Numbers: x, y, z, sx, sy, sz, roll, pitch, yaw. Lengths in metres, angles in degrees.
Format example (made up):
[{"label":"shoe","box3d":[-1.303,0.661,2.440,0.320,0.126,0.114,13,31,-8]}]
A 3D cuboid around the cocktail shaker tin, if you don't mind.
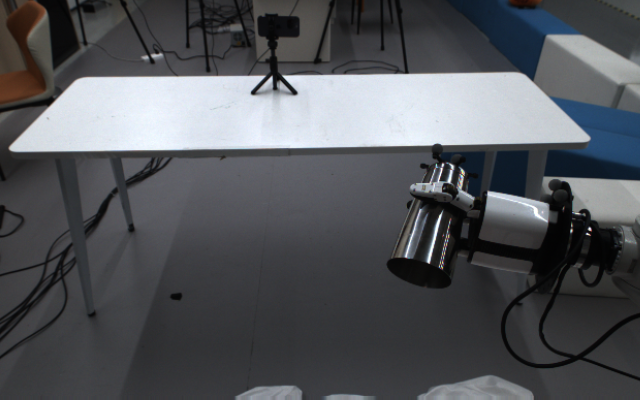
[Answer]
[{"label":"cocktail shaker tin","box3d":[0.165,0.030,0.702,0.093,0.093,0.170,15,63,18]}]
